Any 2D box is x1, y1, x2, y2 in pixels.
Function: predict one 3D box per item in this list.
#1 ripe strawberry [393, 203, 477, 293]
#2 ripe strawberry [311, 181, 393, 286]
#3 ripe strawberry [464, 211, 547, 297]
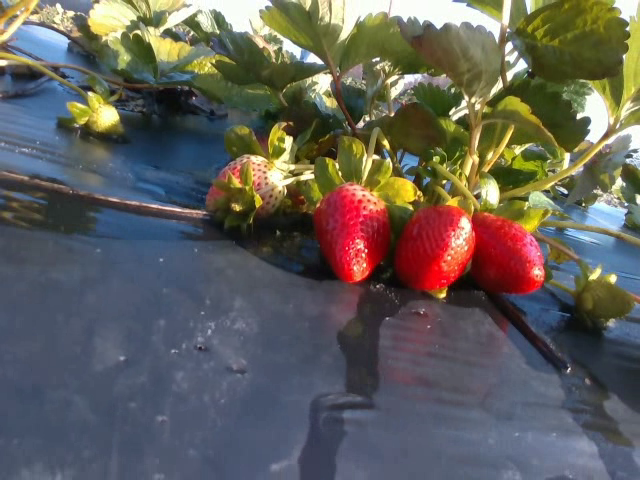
[{"bbox_3d":[0.041,-0.001,0.208,0.031,0.036,0.039,22,-10,-1],"label":"ripe strawberry"},{"bbox_3d":[0.011,-0.003,0.210,0.032,0.023,0.045,13,40,-7],"label":"ripe strawberry"},{"bbox_3d":[0.068,0.008,0.215,0.035,0.033,0.041,10,5,-10],"label":"ripe strawberry"}]
